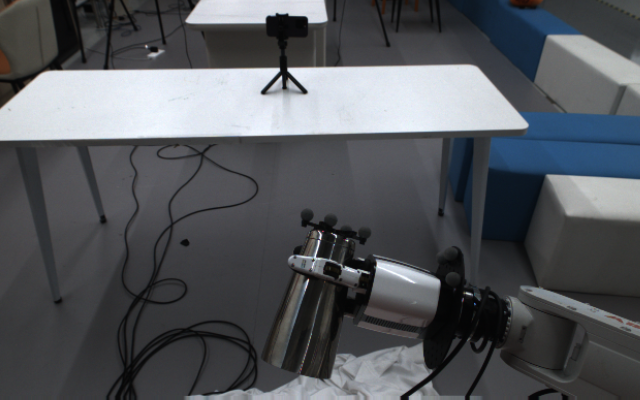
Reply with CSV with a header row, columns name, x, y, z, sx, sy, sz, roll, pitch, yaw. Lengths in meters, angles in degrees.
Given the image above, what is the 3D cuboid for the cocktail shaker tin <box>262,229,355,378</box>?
name,x,y,z,sx,sy,sz,roll,pitch,yaw
cocktail shaker tin,-0.004,0.127,0.622,0.093,0.093,0.170,13,79,15
